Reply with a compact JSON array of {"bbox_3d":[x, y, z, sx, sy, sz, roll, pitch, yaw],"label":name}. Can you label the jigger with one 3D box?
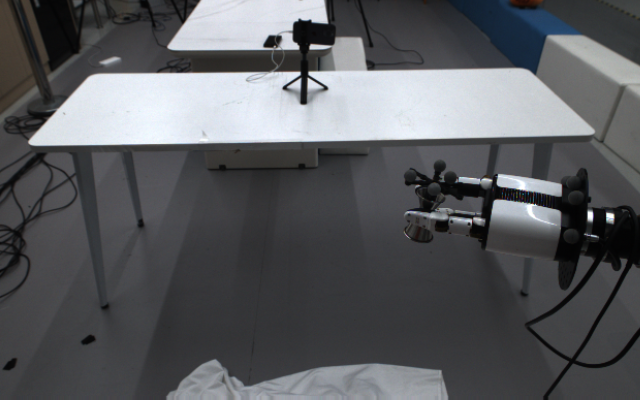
[{"bbox_3d":[0.147,0.020,0.686,0.043,0.071,0.043,9,30,-5],"label":"jigger"}]
